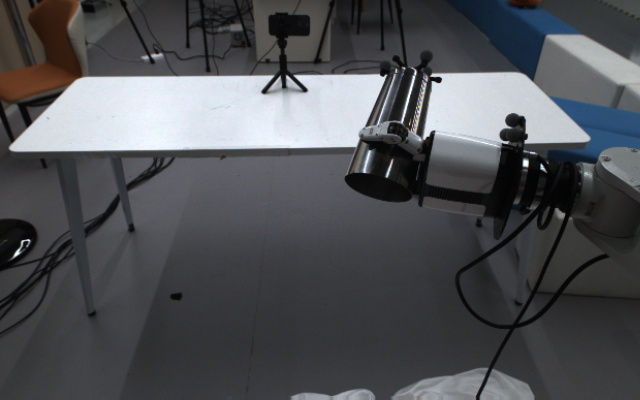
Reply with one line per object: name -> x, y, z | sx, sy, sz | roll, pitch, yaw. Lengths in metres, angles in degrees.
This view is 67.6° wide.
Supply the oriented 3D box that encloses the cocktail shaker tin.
cocktail shaker tin -> 0.101, -0.093, 0.664 | 0.093, 0.093, 0.170 | 13, 72, 16
